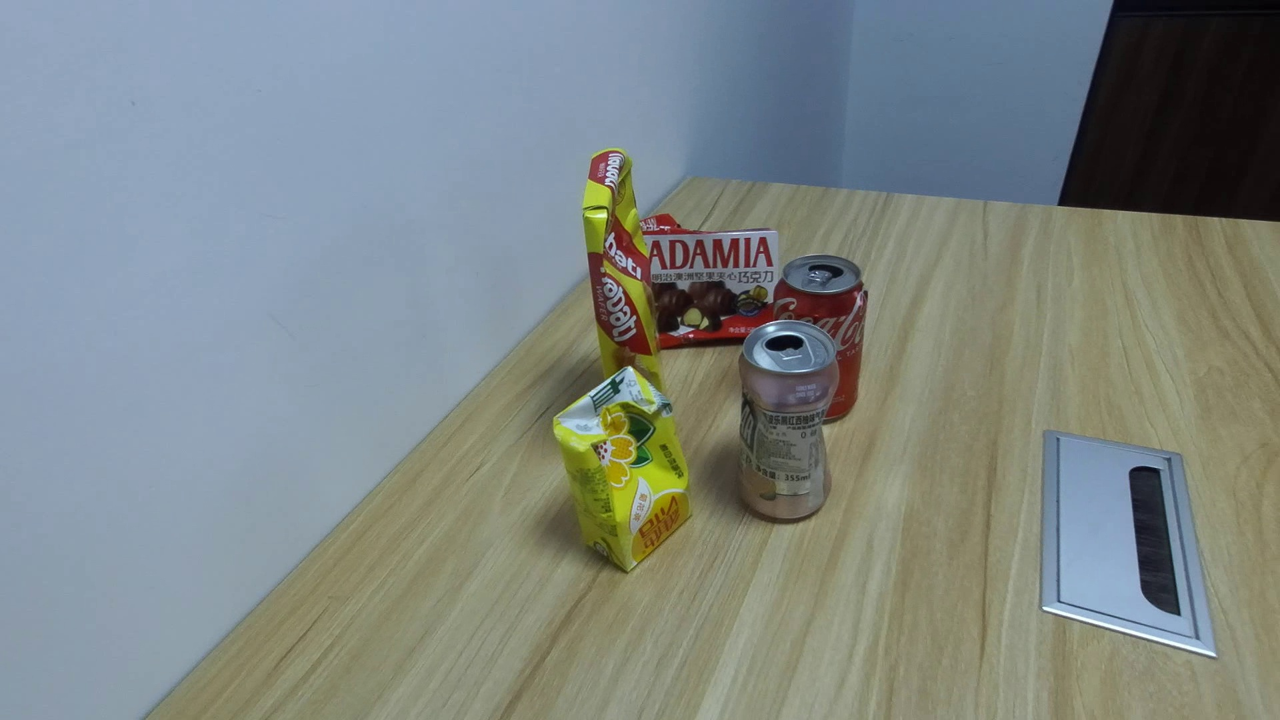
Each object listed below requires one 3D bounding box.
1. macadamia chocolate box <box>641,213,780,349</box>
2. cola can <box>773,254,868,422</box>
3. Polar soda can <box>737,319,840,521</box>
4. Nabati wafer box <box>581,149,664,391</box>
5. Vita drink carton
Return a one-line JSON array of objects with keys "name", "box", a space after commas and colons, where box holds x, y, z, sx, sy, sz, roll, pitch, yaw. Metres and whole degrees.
[{"name": "macadamia chocolate box", "box": [0.058, -0.071, 0.619, 0.126, 0.112, 0.056, -2, 35, 7]}, {"name": "cola can", "box": [0.133, -0.016, 0.531, 0.068, 0.120, 0.067, -4, 35, 3]}, {"name": "Polar soda can", "box": [0.094, 0.039, 0.453, 0.067, 0.122, 0.074, 26, 47, 36]}, {"name": "Nabati wafer box", "box": [-0.010, -0.037, 0.506, 0.042, 0.205, 0.113, -8, 39, 0]}, {"name": "Vita drink carton", "box": [-0.007, 0.069, 0.440, 0.071, 0.110, 0.046, -35, 41, -31]}]
